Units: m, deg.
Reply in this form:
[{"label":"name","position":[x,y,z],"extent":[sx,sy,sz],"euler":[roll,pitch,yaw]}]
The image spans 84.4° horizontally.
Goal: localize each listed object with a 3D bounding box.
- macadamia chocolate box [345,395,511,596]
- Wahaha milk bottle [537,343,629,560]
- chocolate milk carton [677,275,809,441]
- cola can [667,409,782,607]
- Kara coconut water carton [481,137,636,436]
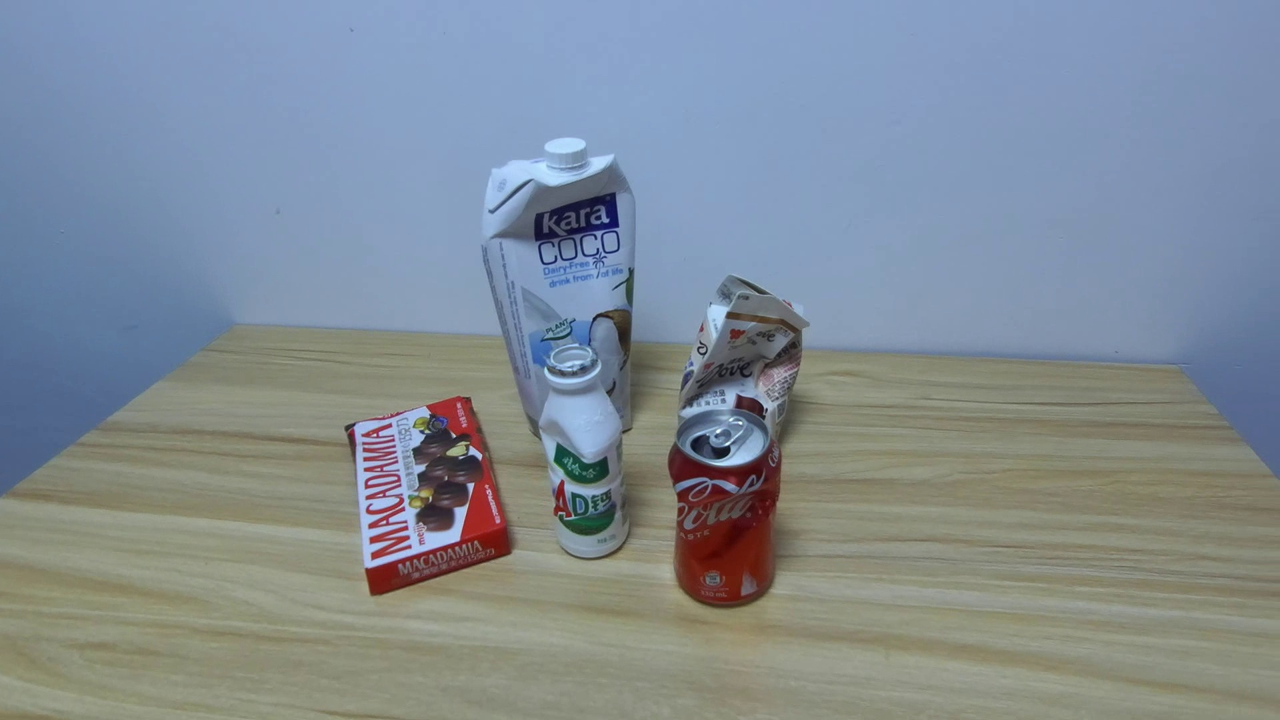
[{"label":"macadamia chocolate box","position":[-0.164,0.090,0.540],"extent":[0.106,0.028,0.182],"euler":[-15,33,-17]},{"label":"Wahaha milk bottle","position":[-0.037,0.060,0.456],"extent":[0.056,0.148,0.056],"euler":[-2,33,2]},{"label":"chocolate milk carton","position":[0.079,0.005,0.535],"extent":[0.089,0.155,0.076],"euler":[12,37,0]},{"label":"cola can","position":[0.051,0.088,0.430],"extent":[0.066,0.117,0.066],"euler":[0,32,7]},{"label":"Kara coconut water carton","position":[-0.056,-0.046,0.542],"extent":[0.115,0.239,0.069],"euler":[-20,33,-30]}]
